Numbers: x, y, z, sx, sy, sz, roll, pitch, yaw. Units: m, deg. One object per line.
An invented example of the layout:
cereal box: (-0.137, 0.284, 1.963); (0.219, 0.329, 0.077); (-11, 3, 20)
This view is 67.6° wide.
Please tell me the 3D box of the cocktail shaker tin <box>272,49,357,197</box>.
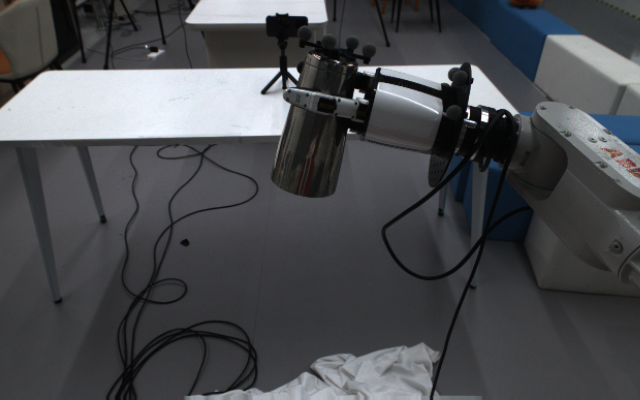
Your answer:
cocktail shaker tin: (0.000, -0.102, 0.627); (0.093, 0.170, 0.093); (12, 25, -6)
